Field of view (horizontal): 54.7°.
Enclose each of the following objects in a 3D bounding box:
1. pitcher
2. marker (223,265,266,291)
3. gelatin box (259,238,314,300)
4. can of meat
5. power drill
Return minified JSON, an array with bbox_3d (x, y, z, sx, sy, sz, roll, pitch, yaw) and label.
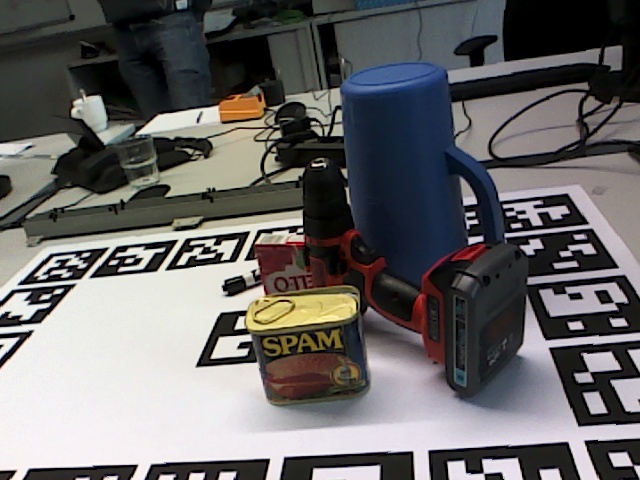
[{"bbox_3d":[0.111,-0.051,0.652,0.190,0.241,0.133,4,33,41],"label":"pitcher"},{"bbox_3d":[-0.063,0.036,0.773,0.121,0.019,0.020,-20,28,-15],"label":"marker"},{"bbox_3d":[-0.018,0.035,0.706,0.090,0.073,0.030,0,32,18],"label":"gelatin box"},{"bbox_3d":[-0.004,0.100,0.553,0.102,0.083,0.058,-7,25,8],"label":"can of meat"},{"bbox_3d":[0.060,0.022,0.579,0.188,0.184,0.057,19,41,35],"label":"power drill"}]
